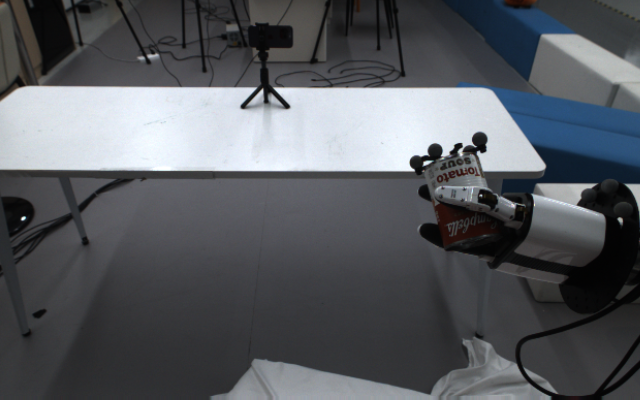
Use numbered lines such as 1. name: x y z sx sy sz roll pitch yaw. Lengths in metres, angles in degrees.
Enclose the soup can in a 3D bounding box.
1. soup can: 0.170 0.002 0.573 0.067 0.067 0.101 -8 74 -14
